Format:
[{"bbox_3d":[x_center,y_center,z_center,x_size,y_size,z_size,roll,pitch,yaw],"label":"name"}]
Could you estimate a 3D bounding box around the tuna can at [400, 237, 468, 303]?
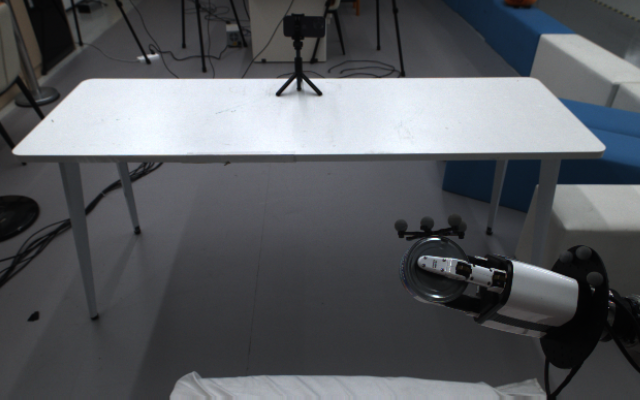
[{"bbox_3d":[0.150,0.088,0.625,0.085,0.034,0.085,1,73,-4],"label":"tuna can"}]
